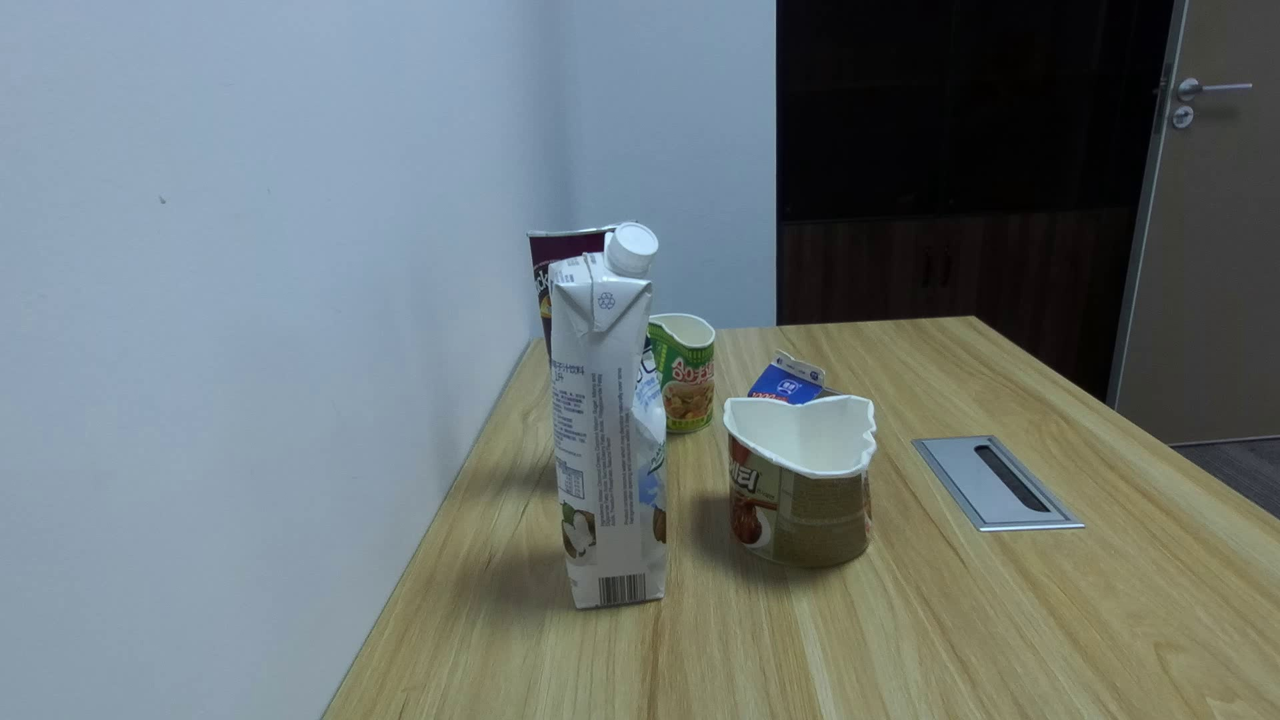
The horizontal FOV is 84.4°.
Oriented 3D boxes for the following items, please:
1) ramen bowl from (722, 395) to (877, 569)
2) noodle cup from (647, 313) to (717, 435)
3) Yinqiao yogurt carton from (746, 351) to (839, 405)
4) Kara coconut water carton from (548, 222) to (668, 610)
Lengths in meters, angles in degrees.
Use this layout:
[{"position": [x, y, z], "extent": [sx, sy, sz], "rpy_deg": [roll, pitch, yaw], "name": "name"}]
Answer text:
[{"position": [0.124, 0.091, 0.537], "extent": [0.113, 0.097, 0.133], "rpy_deg": [-2, 20, 5], "name": "ramen bowl"}, {"position": [0.040, 0.014, 0.744], "extent": [0.070, 0.111, 0.115], "rpy_deg": [-6, 20, -2], "name": "noodle cup"}, {"position": [0.154, 0.041, 0.685], "extent": [0.074, 0.092, 0.075], "rpy_deg": [-13, 22, -27], "name": "Yinqiao yogurt carton"}, {"position": [-0.022, 0.039, 0.478], "extent": [0.078, 0.255, 0.083], "rpy_deg": [0, 20, 7], "name": "Kara coconut water carton"}]
